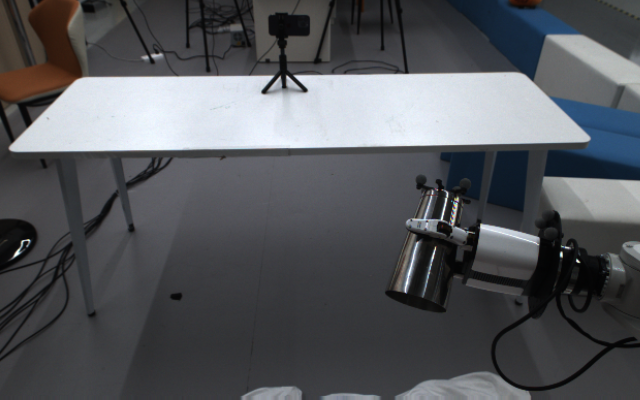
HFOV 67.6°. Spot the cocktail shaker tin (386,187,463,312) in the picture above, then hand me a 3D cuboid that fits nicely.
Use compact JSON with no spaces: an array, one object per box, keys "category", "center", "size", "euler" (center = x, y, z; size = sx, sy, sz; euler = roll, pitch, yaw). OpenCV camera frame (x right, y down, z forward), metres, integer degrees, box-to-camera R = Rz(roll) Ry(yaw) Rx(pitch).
[{"category":"cocktail shaker tin","center":[0.163,0.071,0.730],"size":[0.093,0.093,0.170],"euler":[14,70,17]}]
